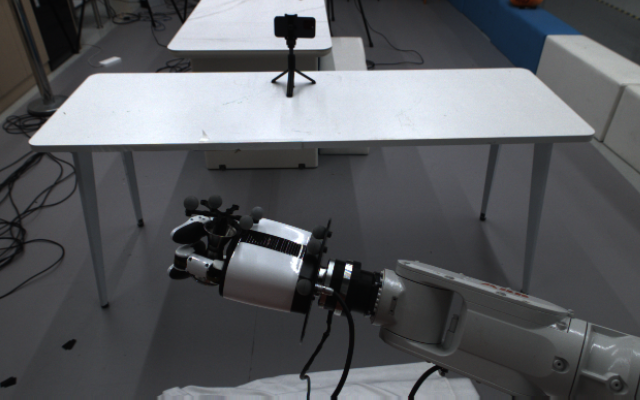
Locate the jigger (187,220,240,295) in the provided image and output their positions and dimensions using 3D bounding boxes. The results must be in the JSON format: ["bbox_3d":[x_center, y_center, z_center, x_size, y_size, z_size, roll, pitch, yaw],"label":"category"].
[{"bbox_3d":[-0.127,0.066,0.605,0.043,0.071,0.043,15,17,-5],"label":"jigger"}]
